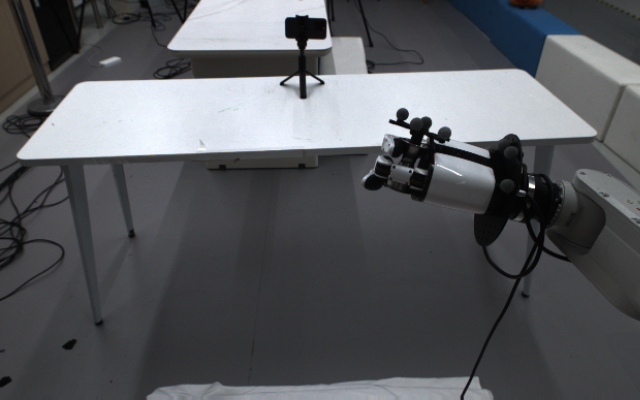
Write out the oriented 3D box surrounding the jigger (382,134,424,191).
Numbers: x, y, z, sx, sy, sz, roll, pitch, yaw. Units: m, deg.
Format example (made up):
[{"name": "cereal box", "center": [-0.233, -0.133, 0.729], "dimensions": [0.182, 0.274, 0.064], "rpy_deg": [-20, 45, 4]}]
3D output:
[{"name": "jigger", "center": [0.120, -0.048, 0.671], "dimensions": [0.043, 0.071, 0.043], "rpy_deg": [18, 17, -6]}]
